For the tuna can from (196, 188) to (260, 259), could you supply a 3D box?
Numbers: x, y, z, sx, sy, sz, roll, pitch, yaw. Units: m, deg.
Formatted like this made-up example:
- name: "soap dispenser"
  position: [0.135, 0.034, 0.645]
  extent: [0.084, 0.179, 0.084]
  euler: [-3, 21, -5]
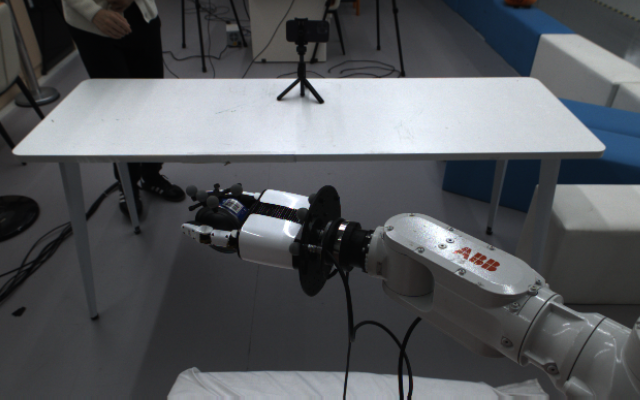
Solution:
- name: "tuna can"
  position: [-0.143, 0.038, 0.734]
  extent: [0.085, 0.085, 0.034]
  euler: [13, 33, 16]
